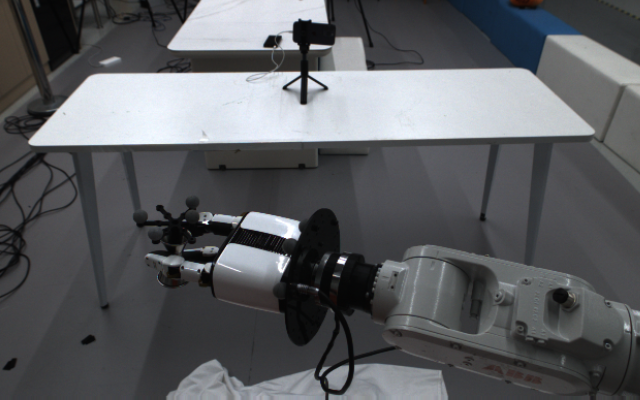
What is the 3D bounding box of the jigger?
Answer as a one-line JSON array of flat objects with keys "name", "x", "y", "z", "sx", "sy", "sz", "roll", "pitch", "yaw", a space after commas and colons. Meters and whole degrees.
[{"name": "jigger", "x": -0.185, "y": 0.073, "z": 0.619, "sx": 0.043, "sy": 0.071, "sz": 0.043, "roll": 9, "pitch": 30, "yaw": -5}]
